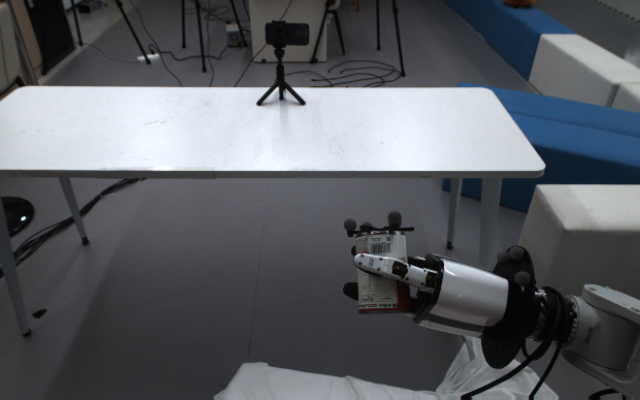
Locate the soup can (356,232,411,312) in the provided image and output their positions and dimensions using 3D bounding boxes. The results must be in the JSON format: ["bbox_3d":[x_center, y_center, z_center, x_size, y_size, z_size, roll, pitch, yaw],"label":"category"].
[{"bbox_3d":[0.082,0.094,0.625,0.067,0.067,0.101,0,75,-3],"label":"soup can"}]
